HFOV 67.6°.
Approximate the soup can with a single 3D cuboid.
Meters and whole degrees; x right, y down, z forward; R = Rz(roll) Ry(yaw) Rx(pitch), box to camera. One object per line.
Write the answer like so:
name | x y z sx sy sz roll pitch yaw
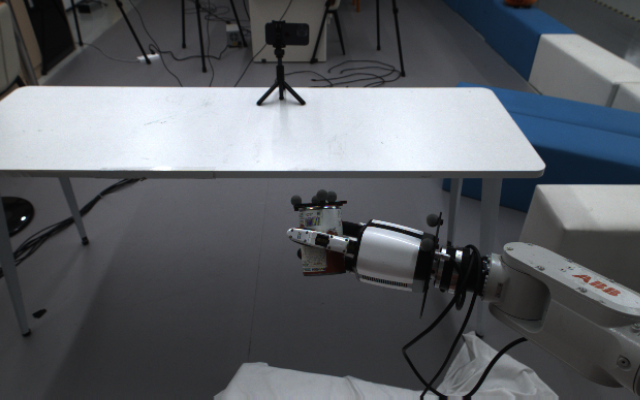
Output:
soup can | 0.005 0.063 0.739 0.067 0.101 0.067 -5 -5 0
